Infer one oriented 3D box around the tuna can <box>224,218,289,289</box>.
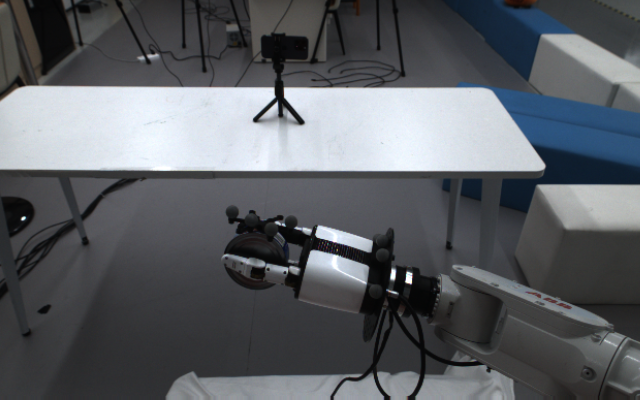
[{"bbox_3d":[-0.084,0.077,0.659,0.085,0.085,0.034,5,18,5],"label":"tuna can"}]
